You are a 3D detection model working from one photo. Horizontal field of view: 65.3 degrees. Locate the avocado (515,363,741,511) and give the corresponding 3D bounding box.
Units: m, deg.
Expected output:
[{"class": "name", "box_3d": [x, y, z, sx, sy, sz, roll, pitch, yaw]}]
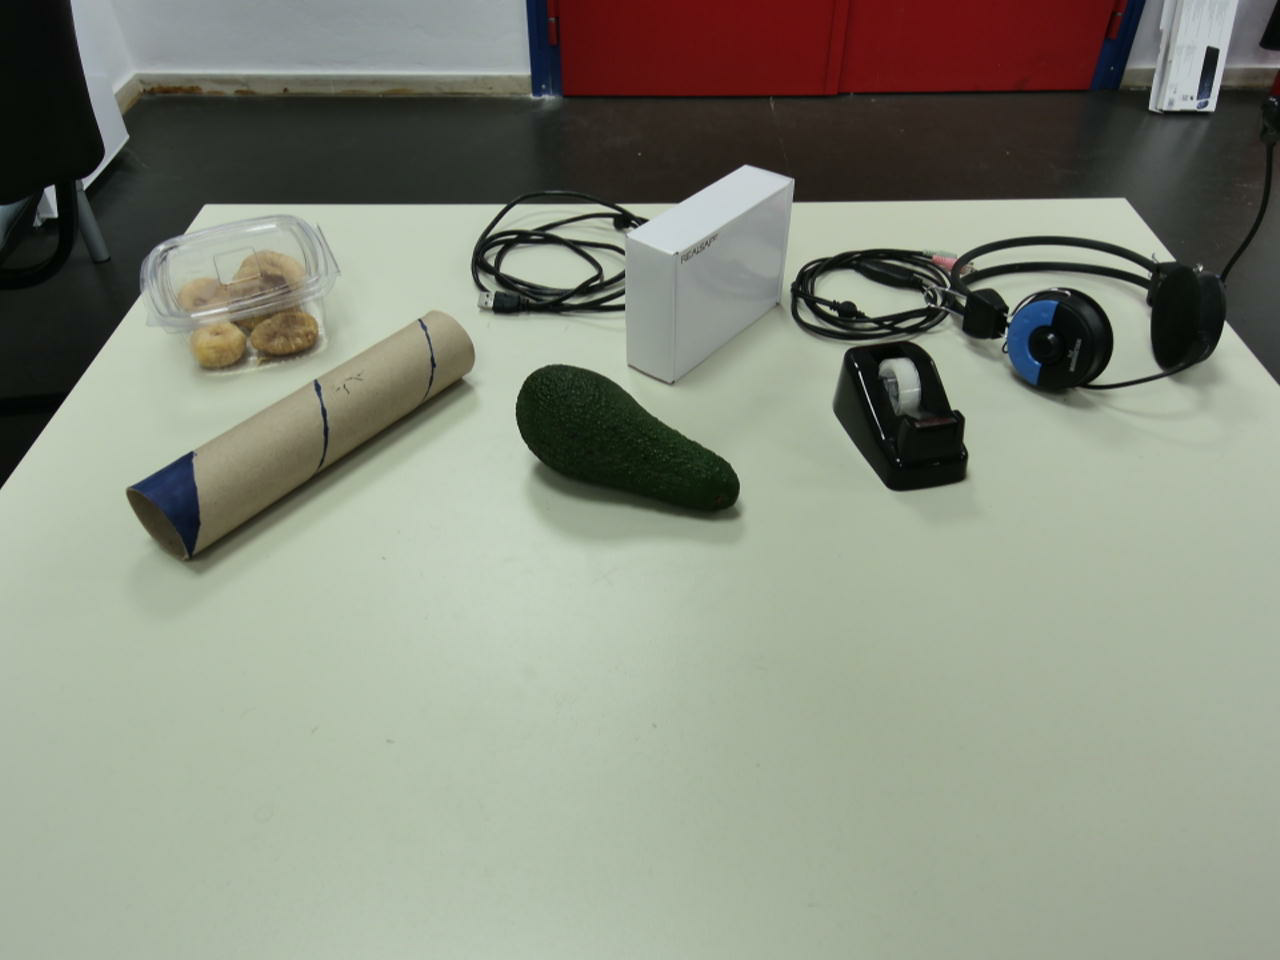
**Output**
[{"class": "avocado", "box_3d": [-0.006, -0.029, 0.580, 0.141, 0.067, 0.063, 10, 40, 12]}]
